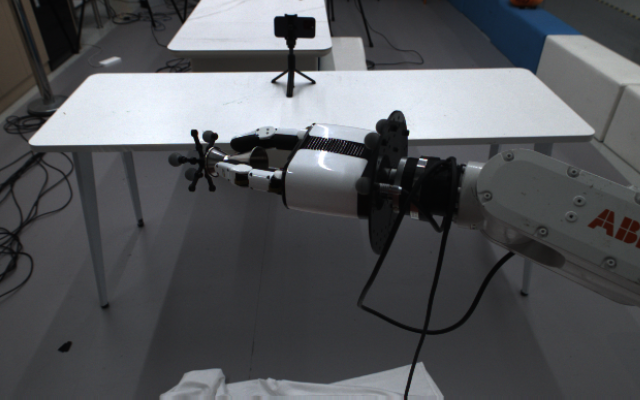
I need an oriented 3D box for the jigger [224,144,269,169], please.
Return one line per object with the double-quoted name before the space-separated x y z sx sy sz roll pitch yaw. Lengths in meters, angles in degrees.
"jigger" -0.097 -0.052 0.606 0.071 0.043 0.043 3 32 25
